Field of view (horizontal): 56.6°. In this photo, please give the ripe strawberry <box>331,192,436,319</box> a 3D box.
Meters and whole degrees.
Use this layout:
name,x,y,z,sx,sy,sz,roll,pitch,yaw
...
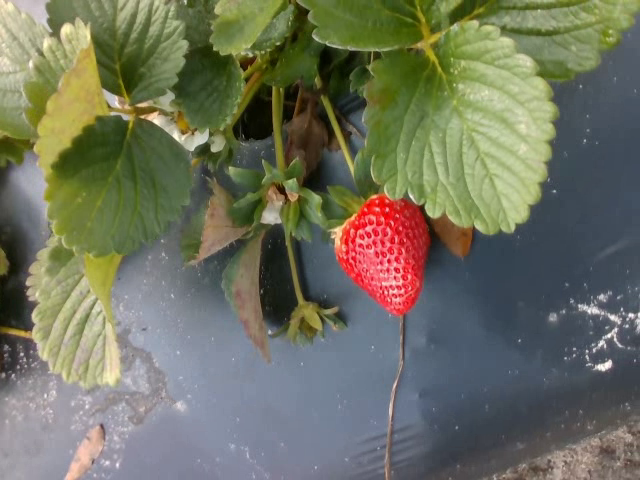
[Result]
name,x,y,z,sx,sy,sz,roll,pitch,yaw
ripe strawberry,0.029,0.011,0.259,0.050,0.053,0.049,-28,-33,17
